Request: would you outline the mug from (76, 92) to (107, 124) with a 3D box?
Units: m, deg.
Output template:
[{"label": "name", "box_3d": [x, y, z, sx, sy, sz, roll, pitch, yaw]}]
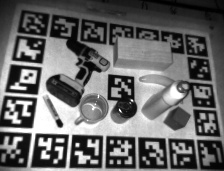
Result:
[{"label": "mug", "box_3d": [-0.071, 0.082, 0.707, 0.093, 0.081, 0.117, 45, 71, 4]}]

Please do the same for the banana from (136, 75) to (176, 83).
[{"label": "banana", "box_3d": [0.190, -0.023, 0.826, 0.198, 0.038, 0.074, 19, 82, -8]}]

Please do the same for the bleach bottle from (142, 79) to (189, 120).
[{"label": "bleach bottle", "box_3d": [0.174, 0.037, 0.689, 0.068, 0.250, 0.103, 31, 66, 2]}]

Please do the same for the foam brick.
[{"label": "foam brick", "box_3d": [0.235, 0.115, 0.771, 0.052, 0.078, 0.051, 35, 65, 4]}]

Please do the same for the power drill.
[{"label": "power drill", "box_3d": [-0.119, -0.053, 0.764, 0.185, 0.057, 0.187, 33, 66, -4]}]

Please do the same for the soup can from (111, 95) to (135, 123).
[{"label": "soup can", "box_3d": [0.039, 0.080, 0.717, 0.068, 0.102, 0.067, 5, 66, -11]}]

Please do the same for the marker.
[{"label": "marker", "box_3d": [-0.191, 0.088, 0.715, 0.020, 0.019, 0.120, -26, 79, -17]}]

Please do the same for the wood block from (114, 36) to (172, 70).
[{"label": "wood block", "box_3d": [0.116, -0.120, 0.819, 0.207, 0.091, 0.089, 3, 71, -12]}]
